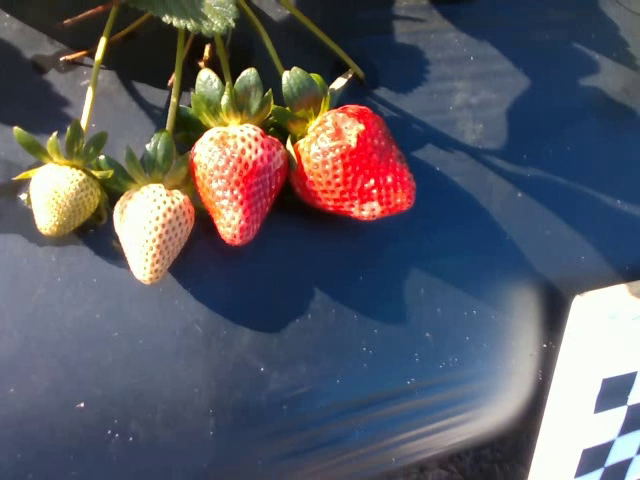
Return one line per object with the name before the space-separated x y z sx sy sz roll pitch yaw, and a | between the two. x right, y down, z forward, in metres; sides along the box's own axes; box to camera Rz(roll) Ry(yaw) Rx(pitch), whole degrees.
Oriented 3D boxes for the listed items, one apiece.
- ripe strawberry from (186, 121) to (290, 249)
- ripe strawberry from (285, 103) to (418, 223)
ripe strawberry | -0.033 -0.023 0.241 0.051 0.061 0.044 15 -28 -32
ripe strawberry | 0.019 -0.030 0.254 0.067 0.056 0.052 40 6 20
